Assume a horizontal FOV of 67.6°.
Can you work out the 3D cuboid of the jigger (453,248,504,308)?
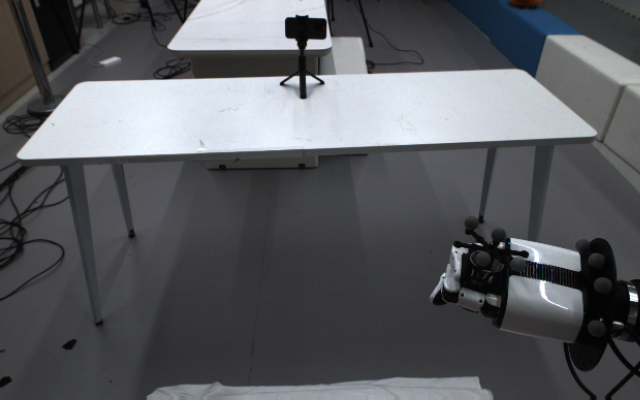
[{"bbox_3d":[0.199,0.101,0.609,0.043,0.071,0.043,7,32,-4],"label":"jigger"}]
